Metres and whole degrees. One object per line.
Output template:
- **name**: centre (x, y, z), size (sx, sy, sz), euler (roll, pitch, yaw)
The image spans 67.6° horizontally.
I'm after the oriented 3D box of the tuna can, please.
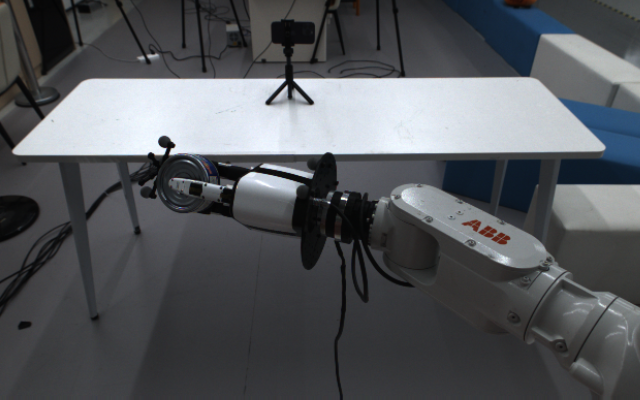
- **tuna can**: centre (-0.187, -0.025, 0.690), size (0.085, 0.085, 0.034), euler (12, 6, 14)
